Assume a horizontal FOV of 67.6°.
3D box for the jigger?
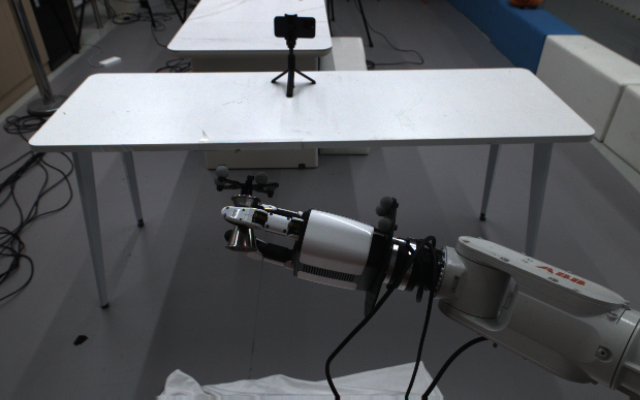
[{"bbox_3d":[-0.100,0.031,0.632,0.043,0.043,0.071,3,76,1],"label":"jigger"}]
